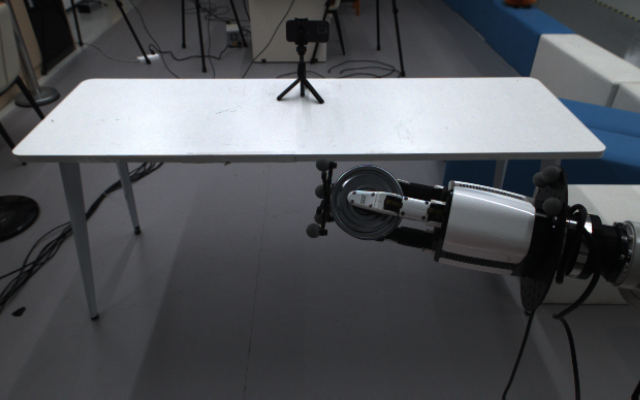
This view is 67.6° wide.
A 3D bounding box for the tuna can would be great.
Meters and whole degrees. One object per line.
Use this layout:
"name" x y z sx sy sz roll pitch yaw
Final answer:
"tuna can" 0.059 0.006 0.557 0.085 0.085 0.034 9 -7 10
